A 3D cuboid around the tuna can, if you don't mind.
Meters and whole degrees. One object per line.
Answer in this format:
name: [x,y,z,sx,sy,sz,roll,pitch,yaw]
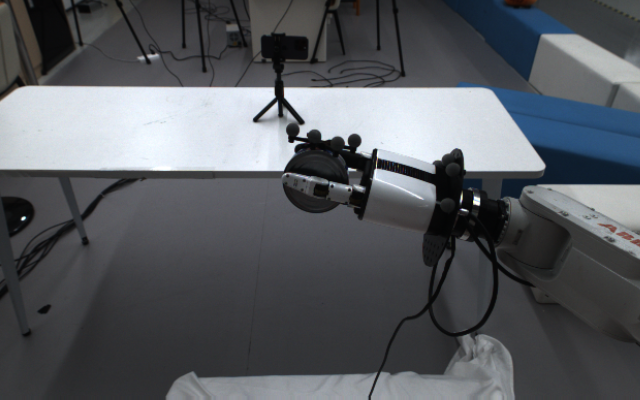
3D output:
tuna can: [-0.004,-0.029,0.635,0.085,0.085,0.034,5,18,4]
